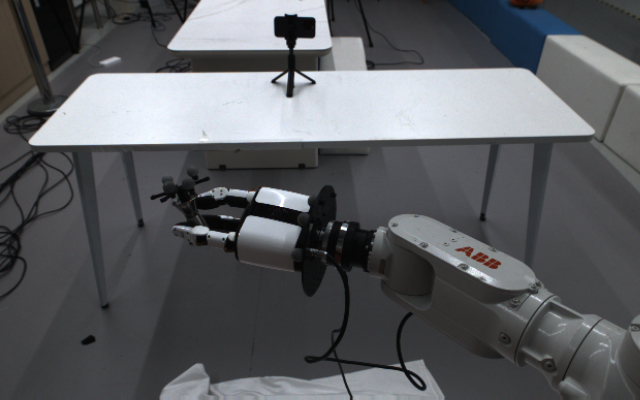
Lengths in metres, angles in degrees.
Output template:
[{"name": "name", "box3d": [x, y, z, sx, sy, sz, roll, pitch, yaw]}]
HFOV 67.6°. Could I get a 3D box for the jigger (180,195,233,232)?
[{"name": "jigger", "box3d": [-0.186, 0.027, 0.725, 0.043, 0.071, 0.043, -17, 21, 7]}]
